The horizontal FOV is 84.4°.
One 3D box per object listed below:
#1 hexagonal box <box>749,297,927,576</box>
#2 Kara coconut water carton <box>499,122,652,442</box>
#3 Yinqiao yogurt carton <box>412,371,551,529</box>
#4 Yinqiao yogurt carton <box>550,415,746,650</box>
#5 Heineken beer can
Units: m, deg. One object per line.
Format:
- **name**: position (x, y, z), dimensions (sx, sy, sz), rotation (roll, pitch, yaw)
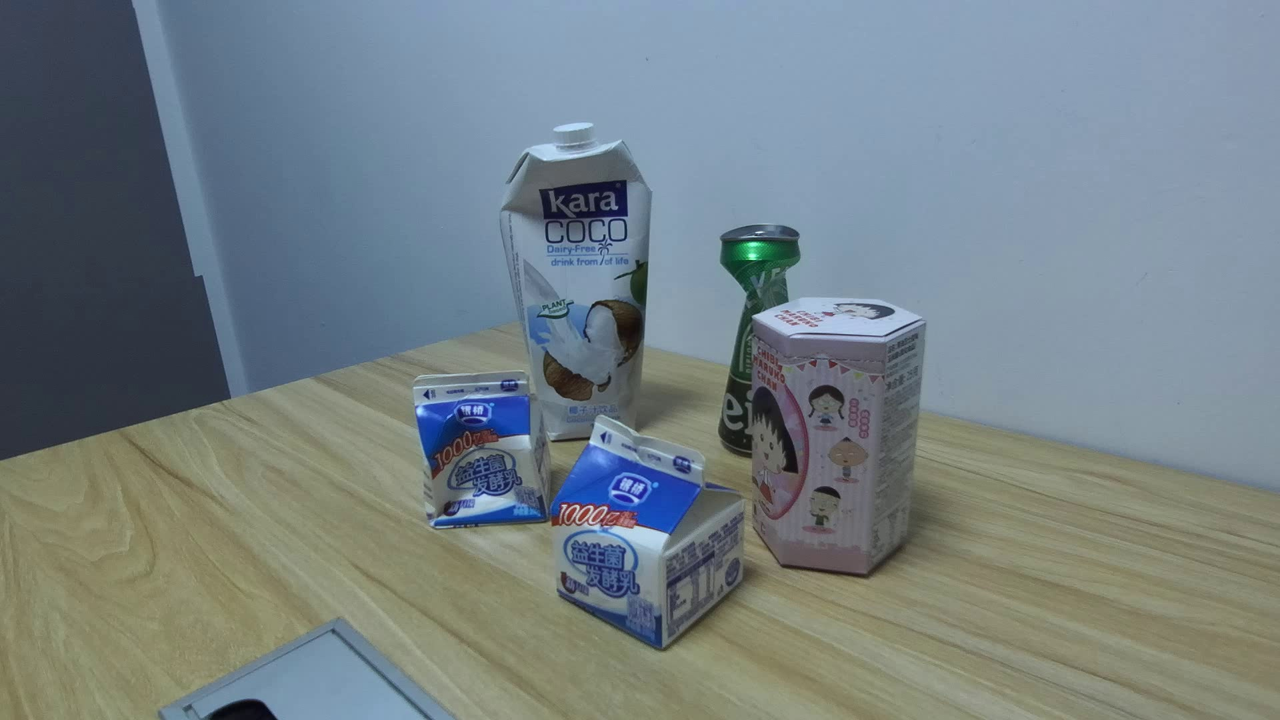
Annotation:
- **hexagonal box**: position (0.107, 0.040, 0.397), dimensions (0.084, 0.136, 0.091), rotation (-6, 19, -13)
- **Kara coconut water carton**: position (-0.046, -0.057, 0.546), dimensions (0.115, 0.238, 0.069), rotation (-4, 20, -5)
- **Yinqiao yogurt carton**: position (-0.101, 0.051, 0.458), dimensions (0.077, 0.094, 0.071), rotation (-4, 24, -2)
- **Yinqiao yogurt carton**: position (0.005, 0.079, 0.363), dimensions (0.075, 0.092, 0.074), rotation (14, 23, 38)
- **Heineken beer can**: position (0.091, -0.012, 0.520), dimensions (0.078, 0.164, 0.065), rotation (-13, 16, -33)
